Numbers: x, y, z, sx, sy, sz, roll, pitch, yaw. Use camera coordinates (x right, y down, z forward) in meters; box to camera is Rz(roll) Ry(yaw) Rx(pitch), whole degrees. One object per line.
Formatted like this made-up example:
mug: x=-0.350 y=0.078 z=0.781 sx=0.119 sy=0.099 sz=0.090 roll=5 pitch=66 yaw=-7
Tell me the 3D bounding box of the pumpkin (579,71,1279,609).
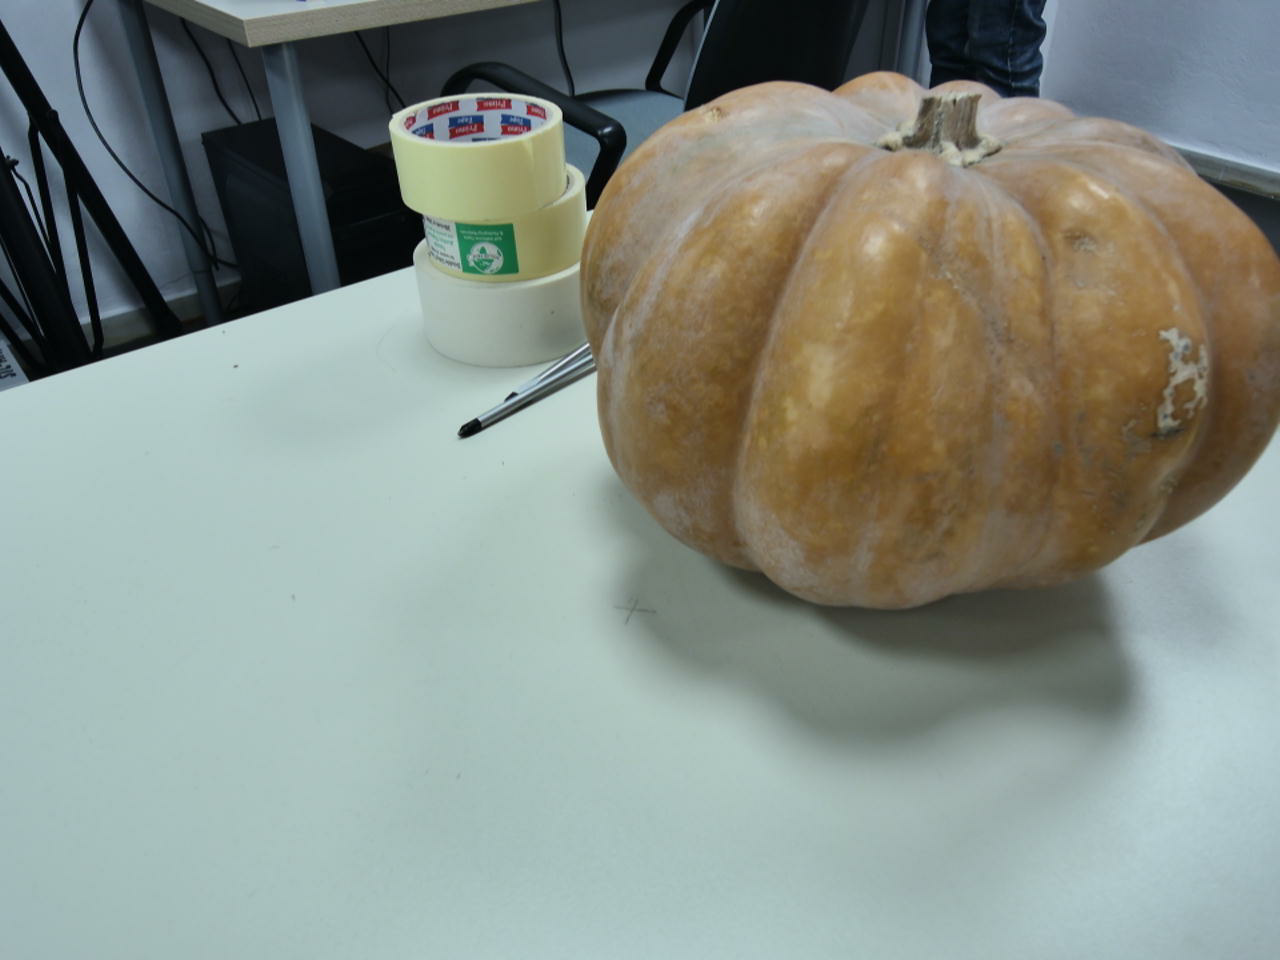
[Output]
pumpkin: x=0.105 y=-0.065 z=0.408 sx=0.277 sy=0.181 sz=0.277 roll=0 pitch=35 yaw=0
